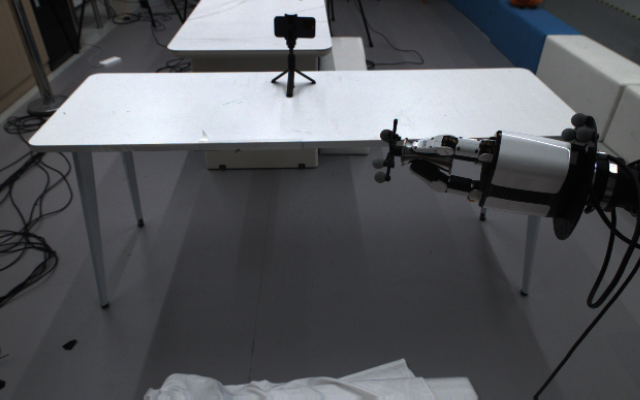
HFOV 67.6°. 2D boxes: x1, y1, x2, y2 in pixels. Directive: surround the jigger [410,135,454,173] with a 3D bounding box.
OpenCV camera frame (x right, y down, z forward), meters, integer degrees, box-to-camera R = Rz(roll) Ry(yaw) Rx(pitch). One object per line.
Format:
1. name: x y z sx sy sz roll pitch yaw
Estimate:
1. jigger: 0.155 -0.066 0.667 0.071 0.043 0.043 10 35 15
